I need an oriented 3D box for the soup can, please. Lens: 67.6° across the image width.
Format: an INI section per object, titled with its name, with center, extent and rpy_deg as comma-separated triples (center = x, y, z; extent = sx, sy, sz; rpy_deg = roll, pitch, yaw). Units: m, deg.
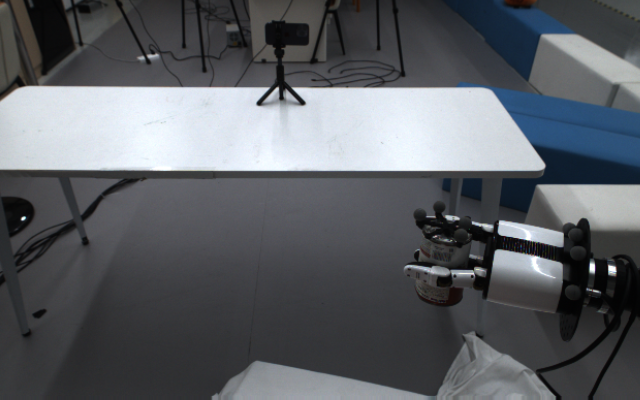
[soup can]
center = 0.173, 0.086, 0.672
extent = 0.067, 0.101, 0.067
rpy_deg = 1, 25, 0
